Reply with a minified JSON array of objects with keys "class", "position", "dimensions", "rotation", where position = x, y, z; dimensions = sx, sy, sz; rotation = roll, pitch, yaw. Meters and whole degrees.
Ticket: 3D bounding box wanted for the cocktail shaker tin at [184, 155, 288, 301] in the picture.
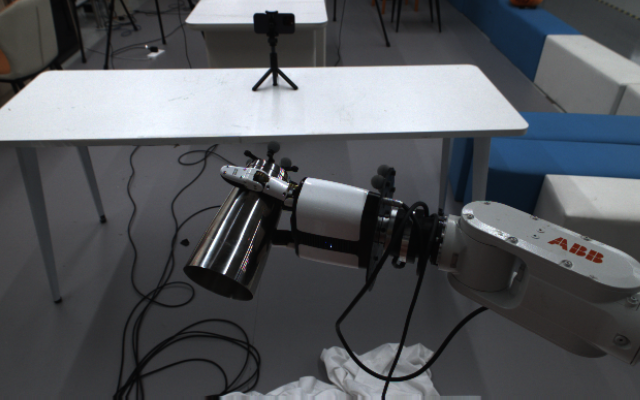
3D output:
[{"class":"cocktail shaker tin","position":[-0.098,0.030,0.628],"dimensions":[0.093,0.093,0.170],"rotation":[13,59,16]}]
